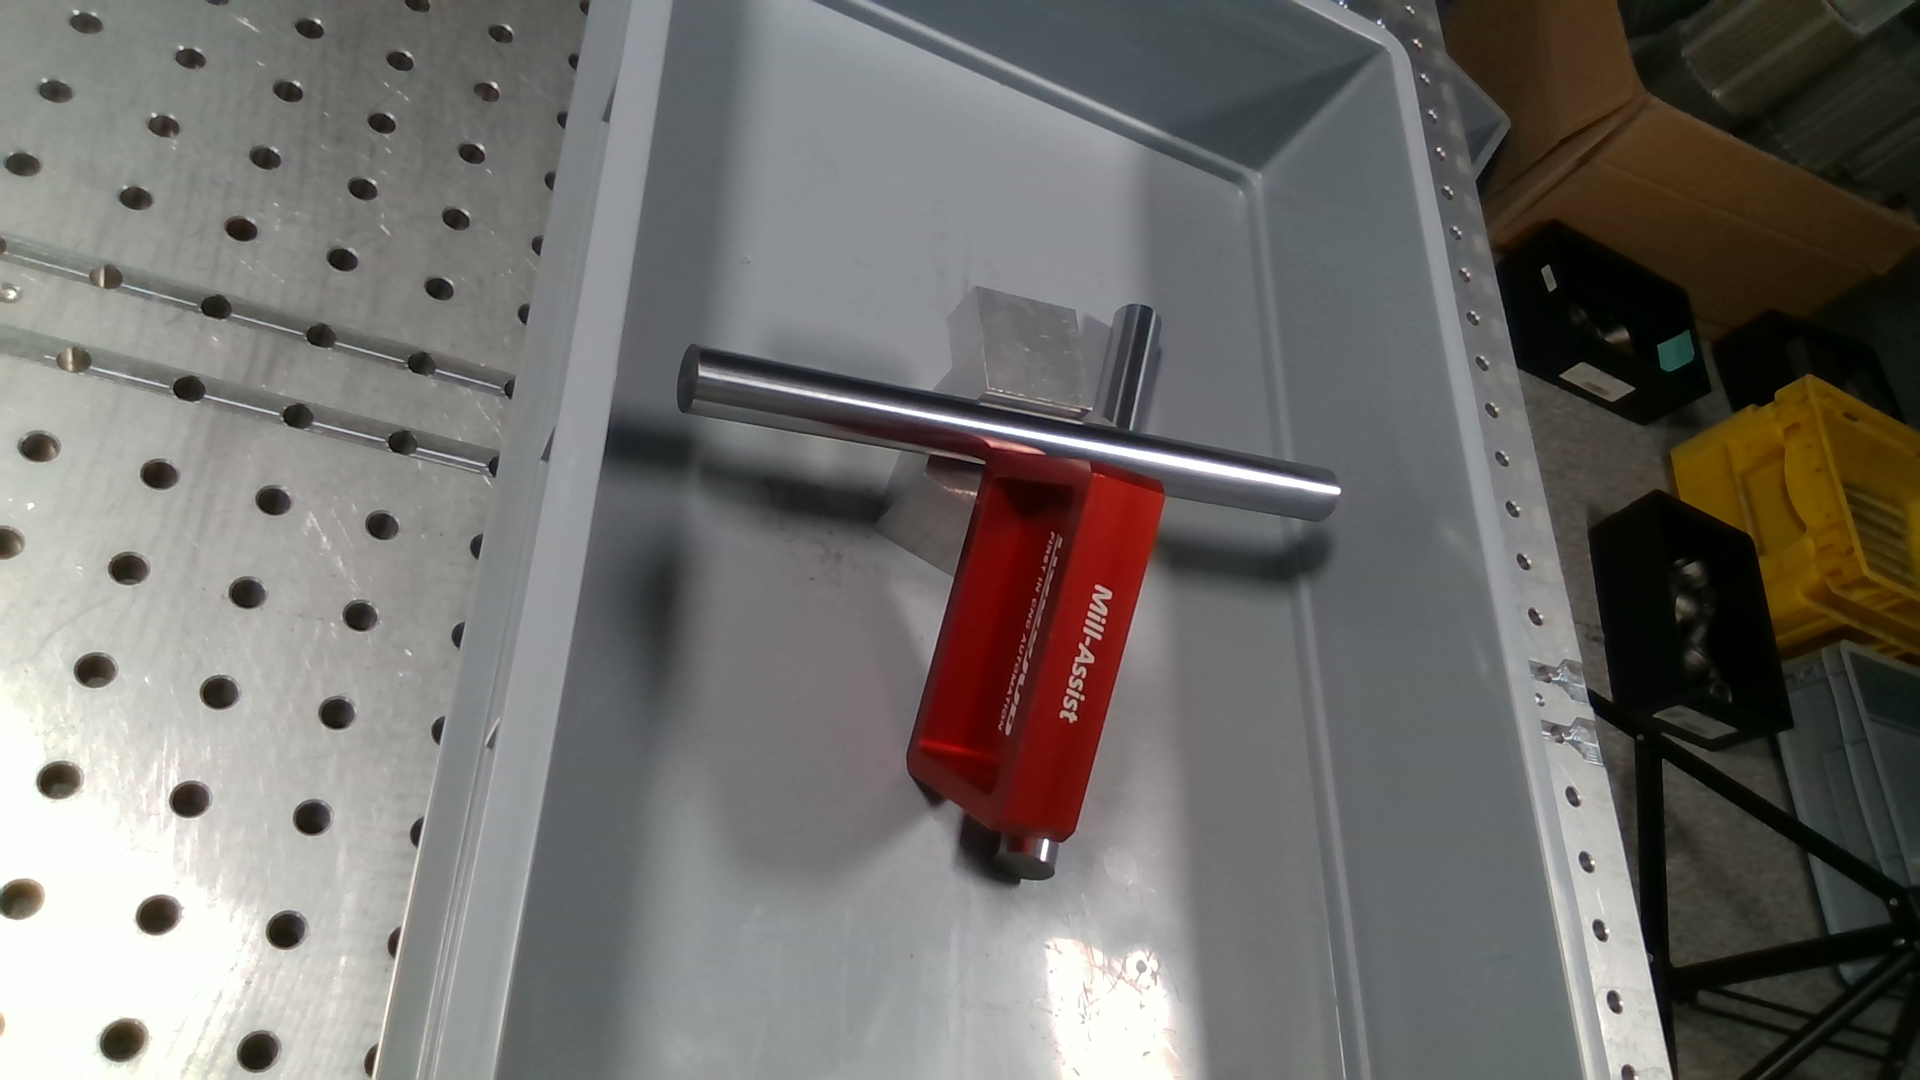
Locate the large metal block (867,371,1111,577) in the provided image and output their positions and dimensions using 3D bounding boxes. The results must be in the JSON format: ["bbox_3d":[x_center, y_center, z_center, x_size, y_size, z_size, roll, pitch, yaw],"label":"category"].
[{"bbox_3d":[0.017,-0.026,0.593,0.080,0.050,0.080,30,53,-15],"label":"large metal block"}]

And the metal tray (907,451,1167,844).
[{"bbox_3d":[0.025,0.035,0.505,0.030,0.090,0.130,15,90,-24],"label":"metal tray"}]

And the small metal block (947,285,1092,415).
[{"bbox_3d":[0.024,-0.074,0.574,0.050,0.025,0.050,8,62,-29],"label":"small metal block"}]

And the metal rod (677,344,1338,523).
[{"bbox_3d":[0.034,-0.039,0.562,0.300,0.025,0.025,8,61,-28],"label":"metal rod"}]

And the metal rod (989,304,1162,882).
[{"bbox_3d":[0.057,0.008,0.616,0.025,0.025,0.299,27,54,-17],"label":"metal rod"}]
